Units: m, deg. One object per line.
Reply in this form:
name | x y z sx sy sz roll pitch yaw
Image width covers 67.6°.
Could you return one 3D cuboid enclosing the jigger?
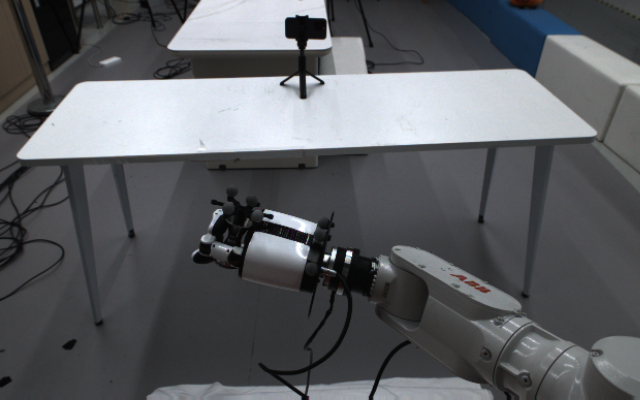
jigger | -0.123 0.060 0.696 0.043 0.071 0.043 18 17 -6
